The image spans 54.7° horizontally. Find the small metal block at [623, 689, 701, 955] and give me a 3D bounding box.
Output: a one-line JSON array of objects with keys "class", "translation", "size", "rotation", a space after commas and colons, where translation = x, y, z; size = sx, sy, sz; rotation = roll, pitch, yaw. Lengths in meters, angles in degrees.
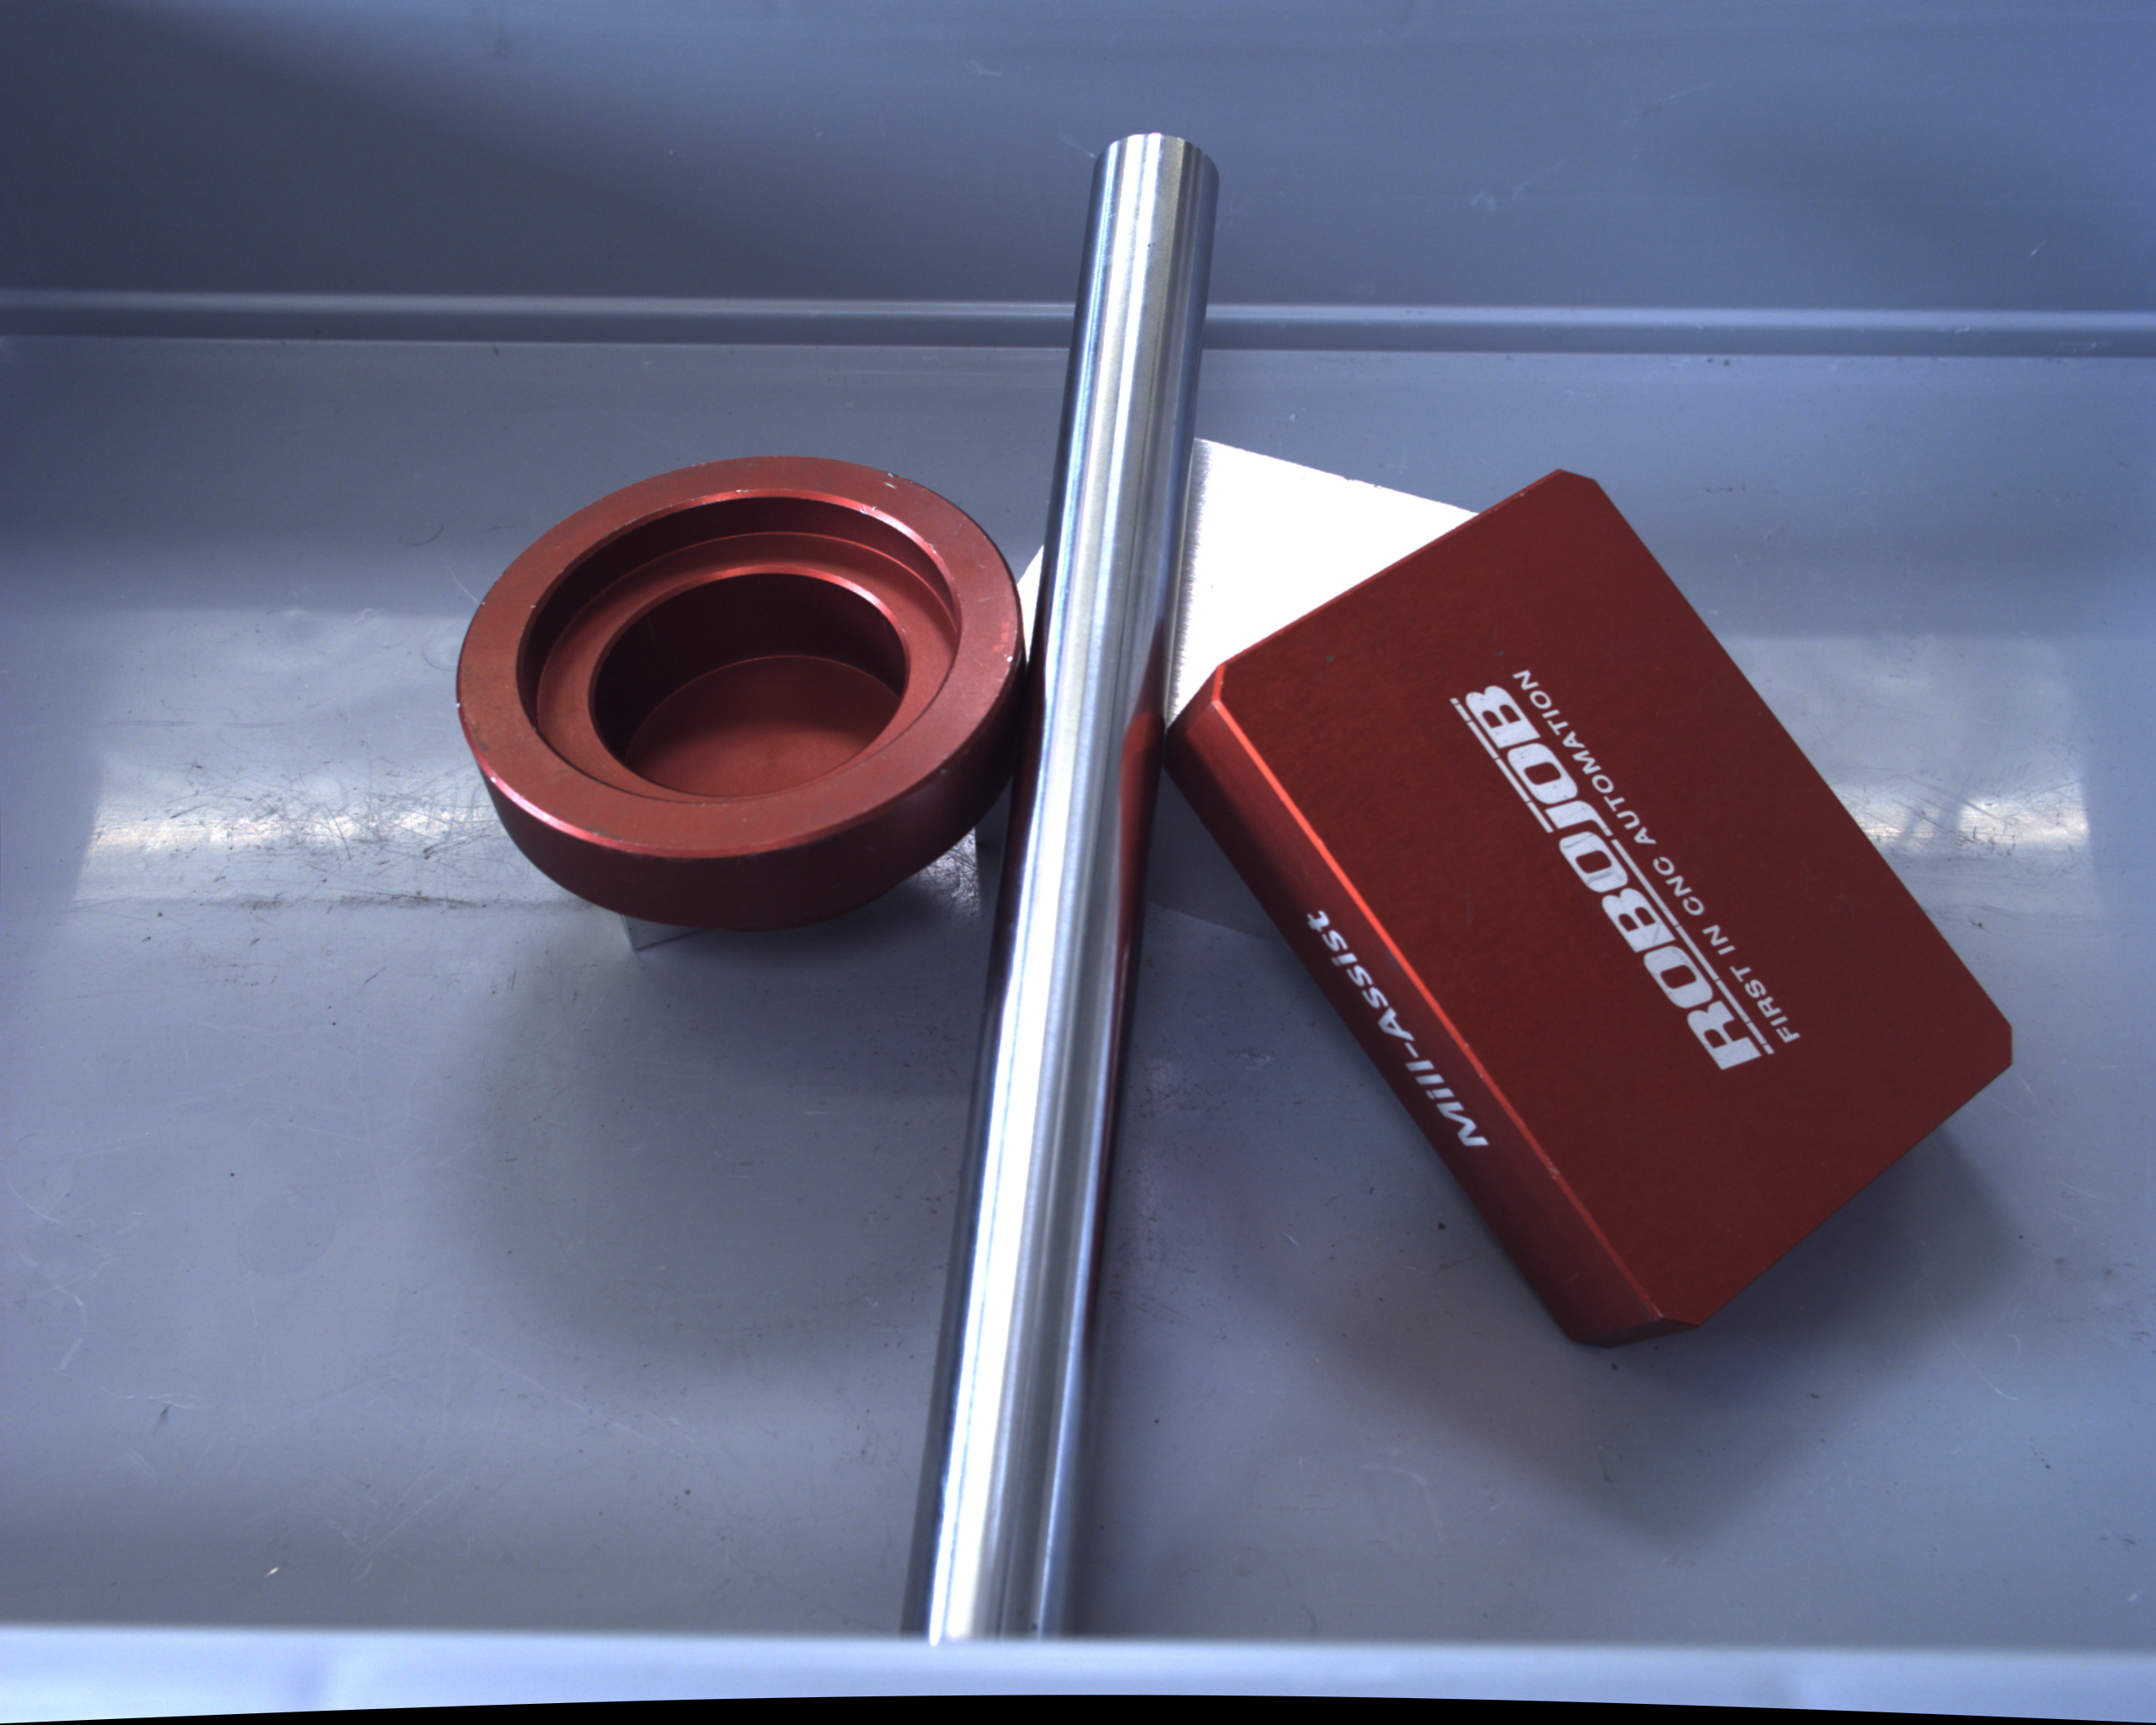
[{"class": "small metal block", "translation": [-0.072, -0.015, 0.416], "size": [0.050, 0.025, 0.050], "rotation": [-17, 52, -14]}]

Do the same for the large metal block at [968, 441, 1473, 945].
[{"class": "large metal block", "translation": [0.030, -0.036, 0.417], "size": [0.080, 0.050, 0.080], "rotation": [18, 52, 14]}]

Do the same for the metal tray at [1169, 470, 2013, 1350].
[{"class": "metal tray", "translation": [0.088, 0.006, 0.363], "size": [0.091, 0.030, 0.130], "rotation": [-32, 82, -23]}]

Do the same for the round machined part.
[{"class": "round machined part", "translation": [-0.058, -0.026, 0.378], "size": [0.099, 0.042, 0.098], "rotation": [-2, 51, 2]}]

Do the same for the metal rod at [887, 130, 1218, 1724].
[{"class": "metal rod", "translation": [0.000, 0.000, 0.351], "size": [0.025, 0.025, 0.299], "rotation": [5, 66, 4]}]
